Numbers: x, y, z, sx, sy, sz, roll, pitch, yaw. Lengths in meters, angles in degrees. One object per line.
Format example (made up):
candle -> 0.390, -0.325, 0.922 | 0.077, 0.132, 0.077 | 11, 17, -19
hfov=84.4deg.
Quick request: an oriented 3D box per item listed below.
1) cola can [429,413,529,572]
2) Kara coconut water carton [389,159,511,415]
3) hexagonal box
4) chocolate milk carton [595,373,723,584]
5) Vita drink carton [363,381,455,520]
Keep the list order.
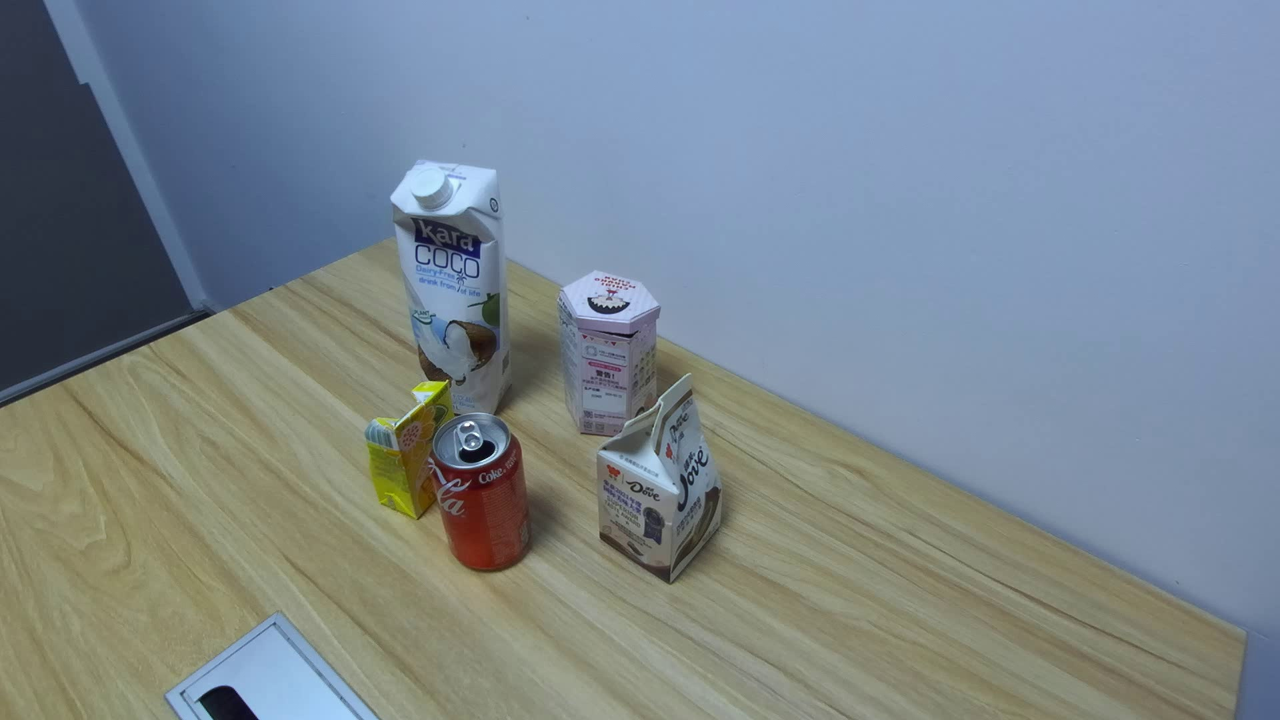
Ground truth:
cola can -> -0.120, 0.100, 0.537 | 0.068, 0.120, 0.067 | 0, 39, 0
Kara coconut water carton -> -0.160, -0.059, 0.627 | 0.099, 0.244, 0.071 | 8, 40, 9
hexagonal box -> -0.027, -0.003, 0.645 | 0.092, 0.135, 0.085 | 7, 39, 9
chocolate milk carton -> 0.019, 0.081, 0.530 | 0.072, 0.155, 0.084 | 27, 46, 28
Vita drink carton -> -0.186, 0.068, 0.579 | 0.046, 0.110, 0.071 | 19, 42, 19
